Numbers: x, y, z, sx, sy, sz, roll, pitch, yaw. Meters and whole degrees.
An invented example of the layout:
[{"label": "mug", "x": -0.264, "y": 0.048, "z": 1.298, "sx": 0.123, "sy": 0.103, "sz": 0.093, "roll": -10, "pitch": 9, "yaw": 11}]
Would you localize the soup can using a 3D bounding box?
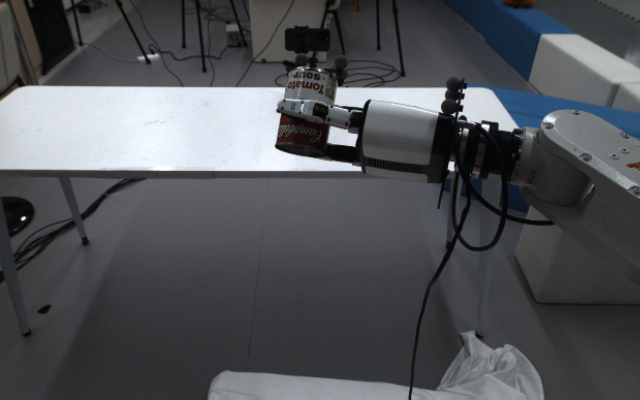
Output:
[{"label": "soup can", "x": -0.017, "y": -0.114, "z": 0.631, "sx": 0.067, "sy": 0.101, "sz": 0.067, "roll": 9, "pitch": -5, "yaw": 1}]
